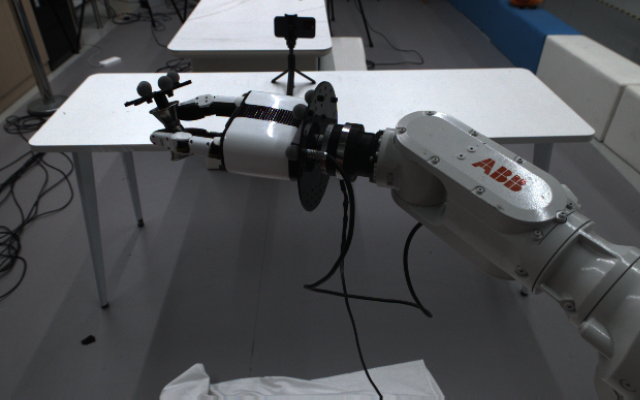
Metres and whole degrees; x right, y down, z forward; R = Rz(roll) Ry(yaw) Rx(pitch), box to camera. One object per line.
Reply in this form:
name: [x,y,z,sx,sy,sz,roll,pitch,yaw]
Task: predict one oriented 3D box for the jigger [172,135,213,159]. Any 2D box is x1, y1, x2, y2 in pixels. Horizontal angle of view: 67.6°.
jigger: [-0.187,-0.092,0.639,0.043,0.071,0.043,-18,24,8]
